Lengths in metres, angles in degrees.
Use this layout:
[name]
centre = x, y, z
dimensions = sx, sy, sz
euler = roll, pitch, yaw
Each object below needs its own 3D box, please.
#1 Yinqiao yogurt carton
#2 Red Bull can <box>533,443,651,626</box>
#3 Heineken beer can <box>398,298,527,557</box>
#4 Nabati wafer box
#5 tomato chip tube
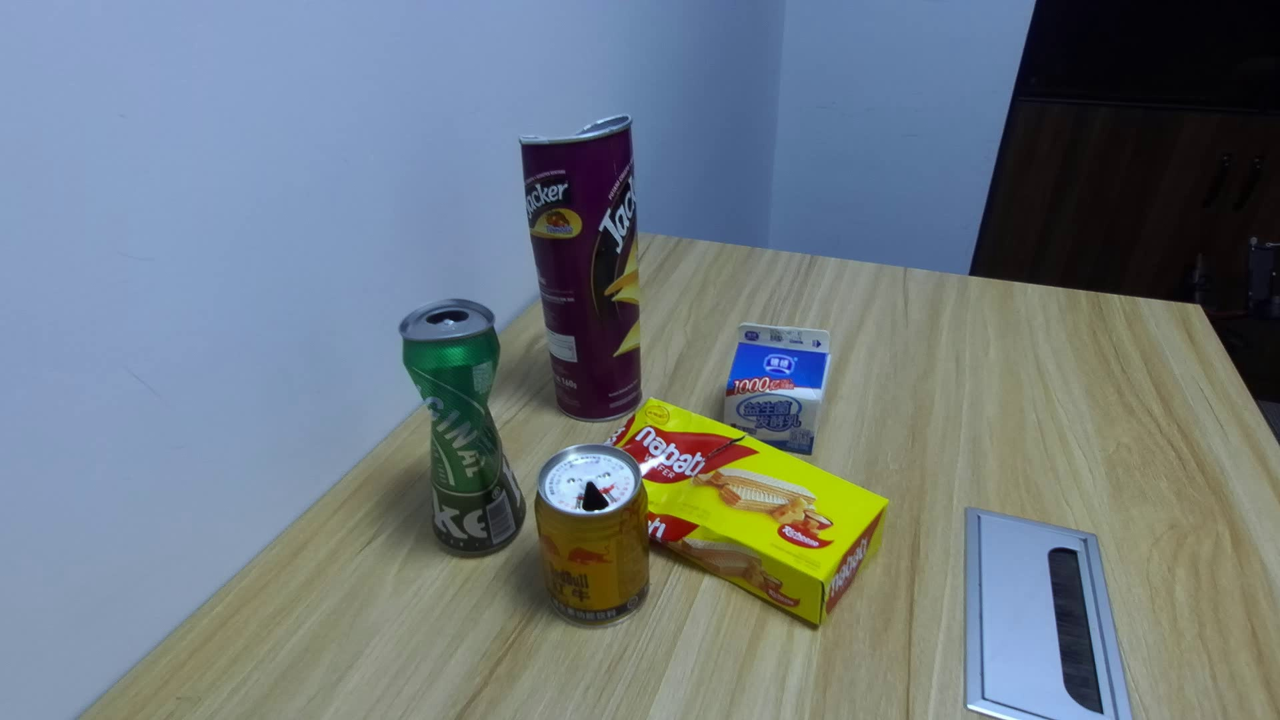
[Yinqiao yogurt carton]
centre = 0.110, 0.013, 0.559
dimensions = 0.075, 0.092, 0.074
euler = 8, 34, 18
[Red Bull can]
centre = -0.026, 0.104, 0.422
dimensions = 0.067, 0.093, 0.067
euler = -1, 33, 1
[Heineken beer can]
centre = -0.113, 0.048, 0.454
dimensions = 0.066, 0.164, 0.078
euler = 13, 32, 23
[Nabati wafer box]
centre = 0.051, 0.094, 0.483
dimensions = 0.203, 0.042, 0.107
euler = 22, 38, 33
[tomato chip tube]
centre = -0.040, -0.066, 0.562
dimensions = 0.077, 0.235, 0.076
euler = 0, 32, 5
